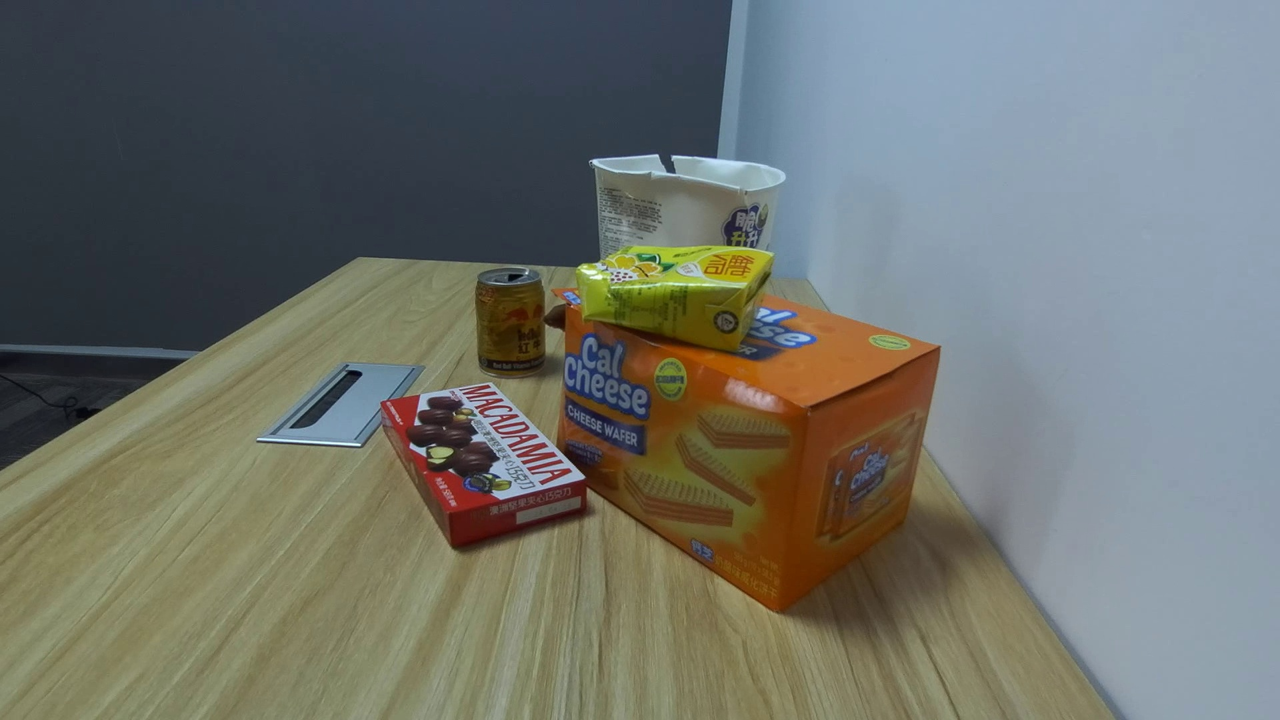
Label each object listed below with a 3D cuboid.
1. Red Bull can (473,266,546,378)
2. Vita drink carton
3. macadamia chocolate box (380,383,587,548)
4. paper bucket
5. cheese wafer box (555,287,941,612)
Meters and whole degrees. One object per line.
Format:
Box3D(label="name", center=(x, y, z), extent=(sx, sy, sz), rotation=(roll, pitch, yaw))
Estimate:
Box3D(label="Red Bull can", center=(-0.125, -0.036, 0.685), extent=(0.068, 0.093, 0.068), rotation=(3, 18, -1))
Box3D(label="Vita drink carton", center=(0.022, -0.042, 0.440), extent=(0.108, 0.042, 0.087), rotation=(9, 31, 24))
Box3D(label="macadamia chocolate box", center=(-0.120, 0.067, 0.517), extent=(0.096, 0.027, 0.177), rotation=(-10, 26, -30))
Box3D(label="paper bucket", center=(0.042, -0.094, 0.694), extent=(0.202, 0.197, 0.146), rotation=(18, 26, 30))
Box3D(label="cheese wafer box", center=(0.058, 0.030, 0.480), extent=(0.150, 0.137, 0.226), rotation=(-18, 30, -39))
